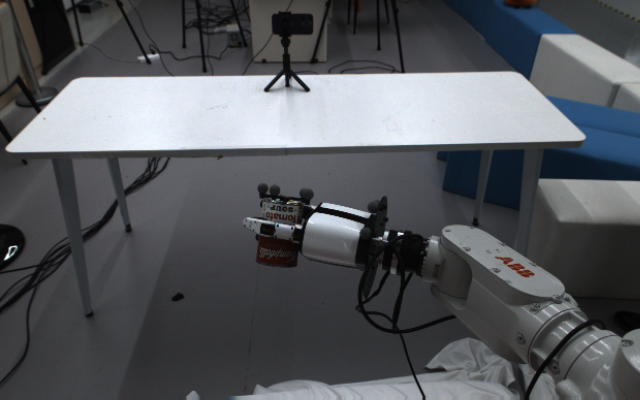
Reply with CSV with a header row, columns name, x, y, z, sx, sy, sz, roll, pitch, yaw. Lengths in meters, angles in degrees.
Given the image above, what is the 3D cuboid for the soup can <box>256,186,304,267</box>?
name,x,y,z,sx,sy,sz,roll,pitch,yaw
soup can,-0.063,0.051,0.771,0.067,0.101,0.067,7,3,0
